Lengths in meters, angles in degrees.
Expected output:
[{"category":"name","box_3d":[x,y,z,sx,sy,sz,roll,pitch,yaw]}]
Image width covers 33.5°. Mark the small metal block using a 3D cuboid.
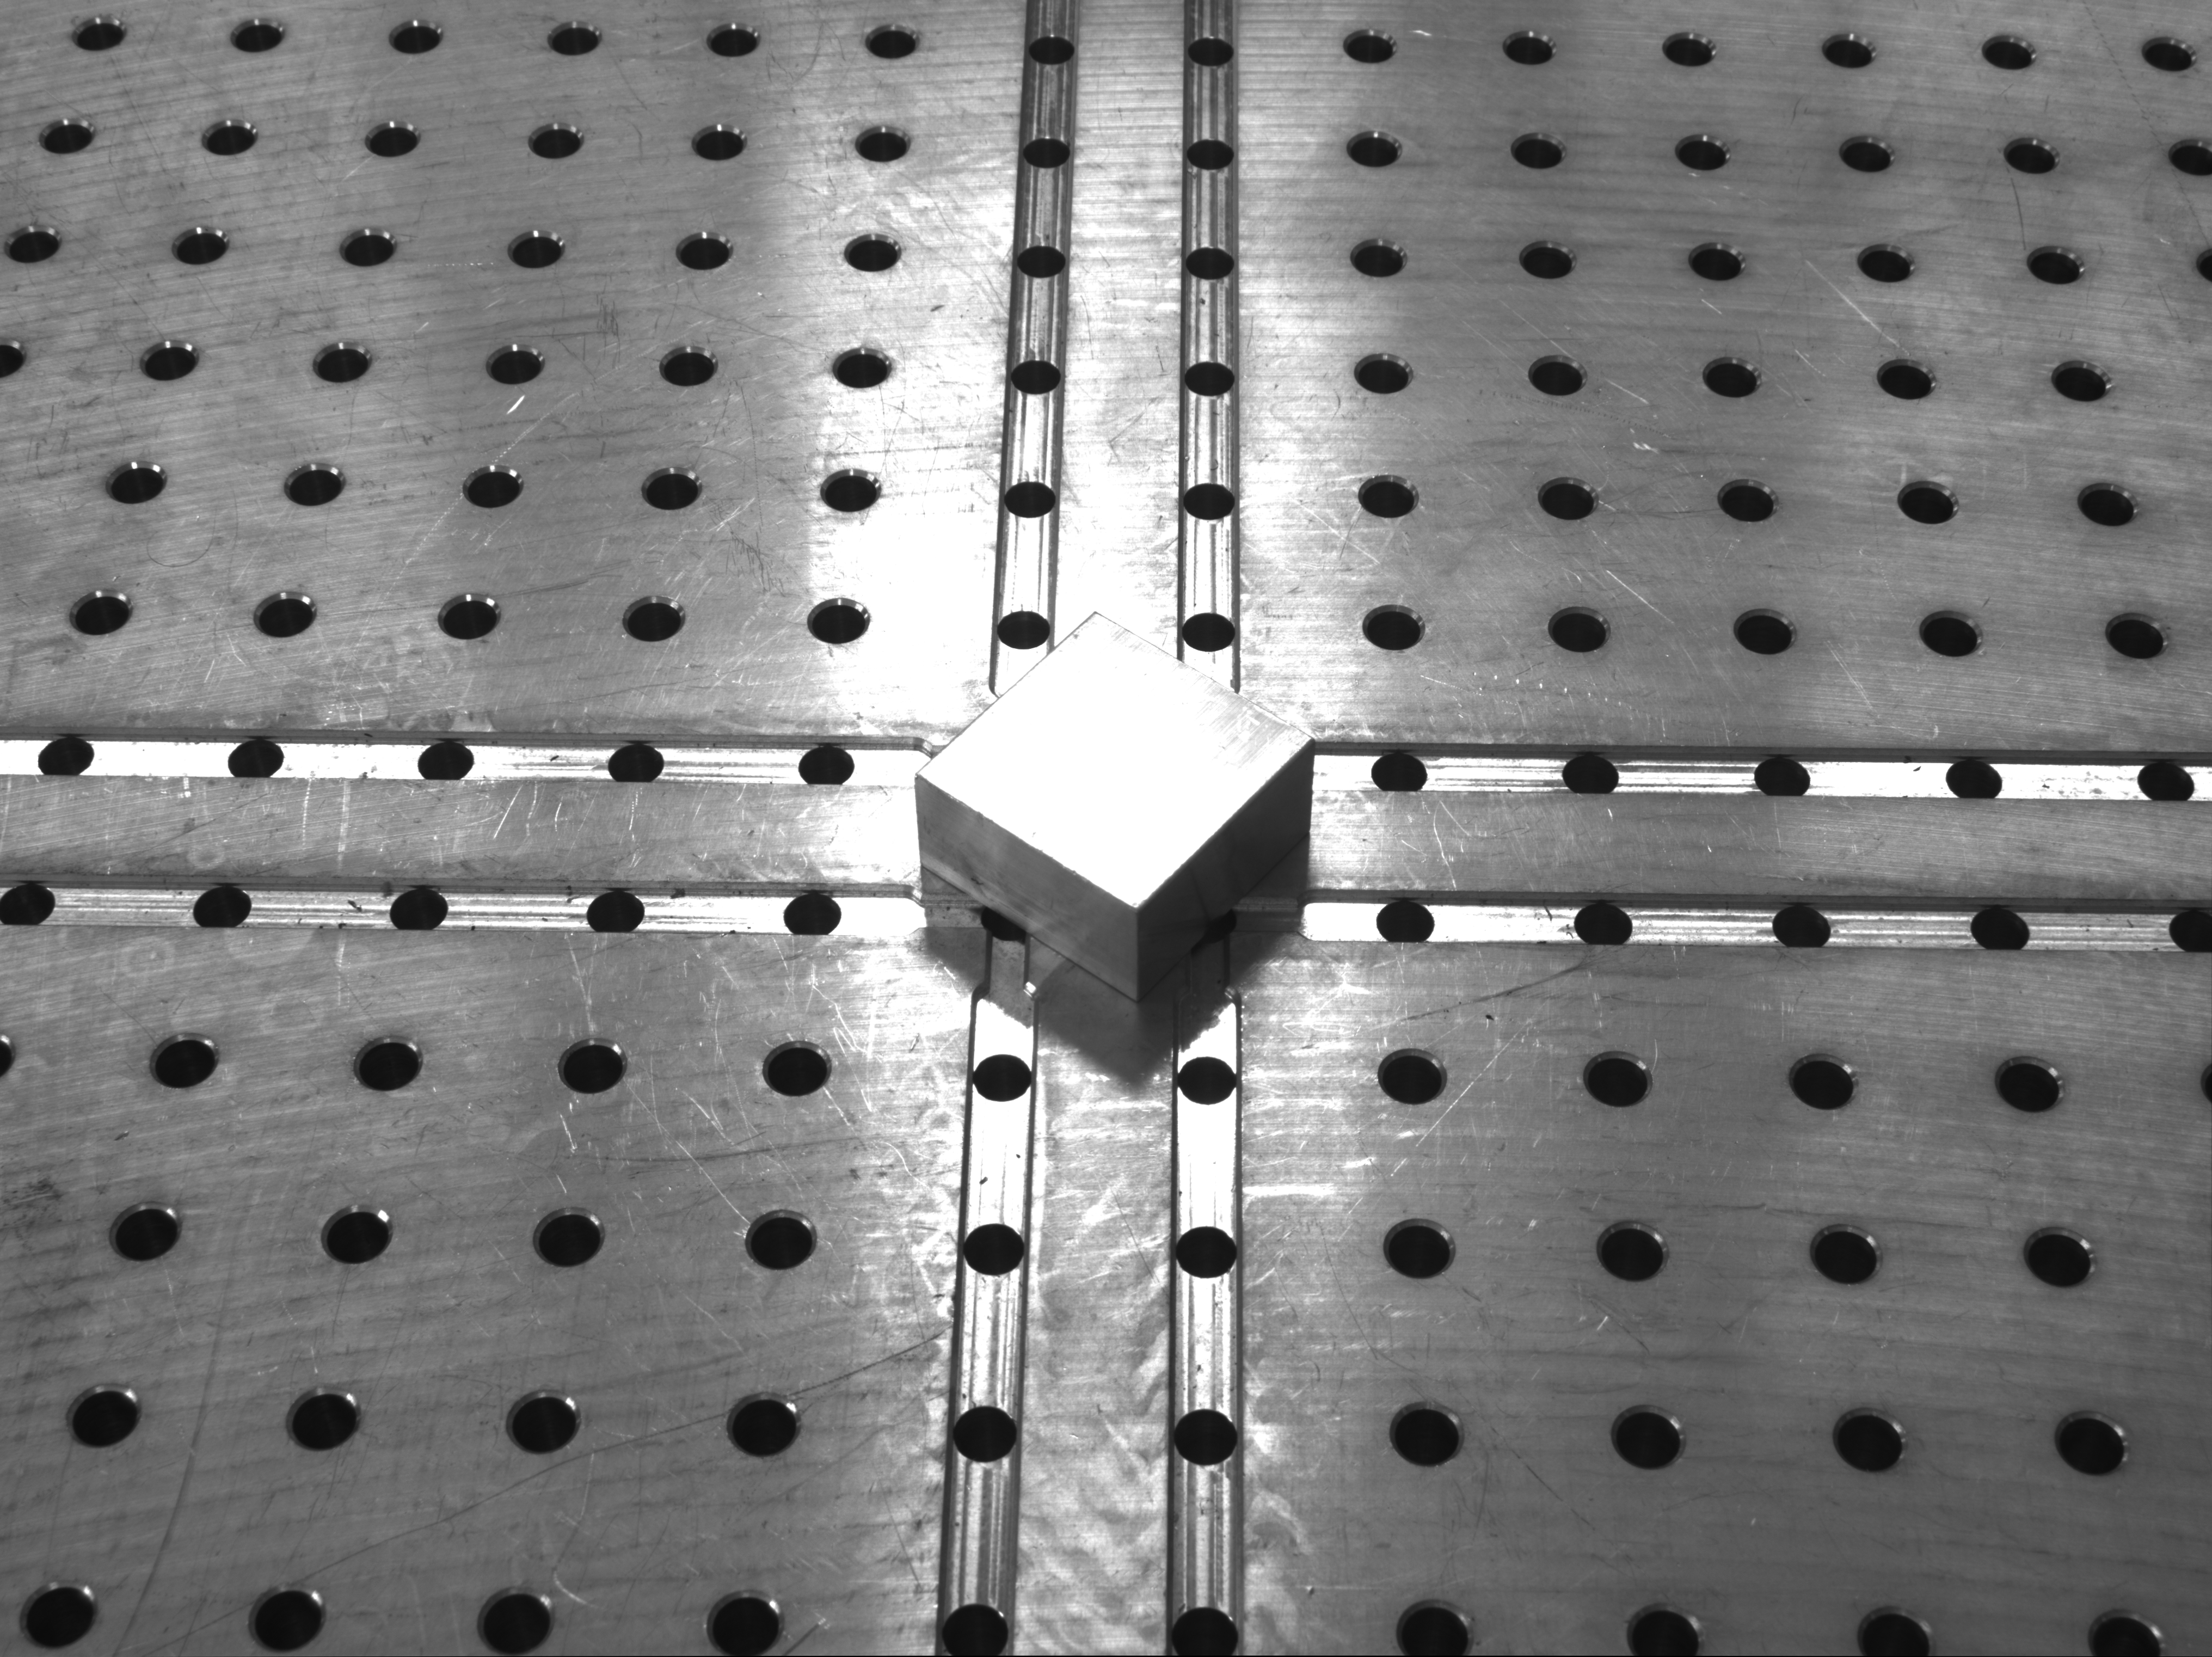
[{"category":"small metal block","box_3d":[0.001,-0.004,0.649,0.050,0.025,0.050,32,57,23]}]
